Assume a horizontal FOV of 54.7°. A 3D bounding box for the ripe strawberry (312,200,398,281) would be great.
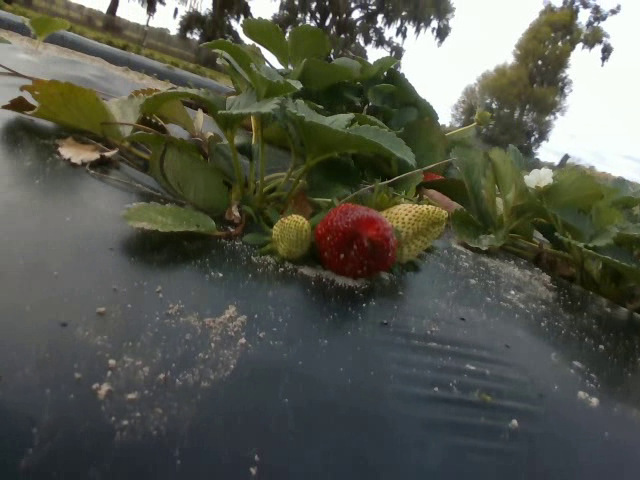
[{"bbox_3d":[0.021,0.001,0.299,0.046,0.046,0.059,7,-10,-16],"label":"ripe strawberry"}]
